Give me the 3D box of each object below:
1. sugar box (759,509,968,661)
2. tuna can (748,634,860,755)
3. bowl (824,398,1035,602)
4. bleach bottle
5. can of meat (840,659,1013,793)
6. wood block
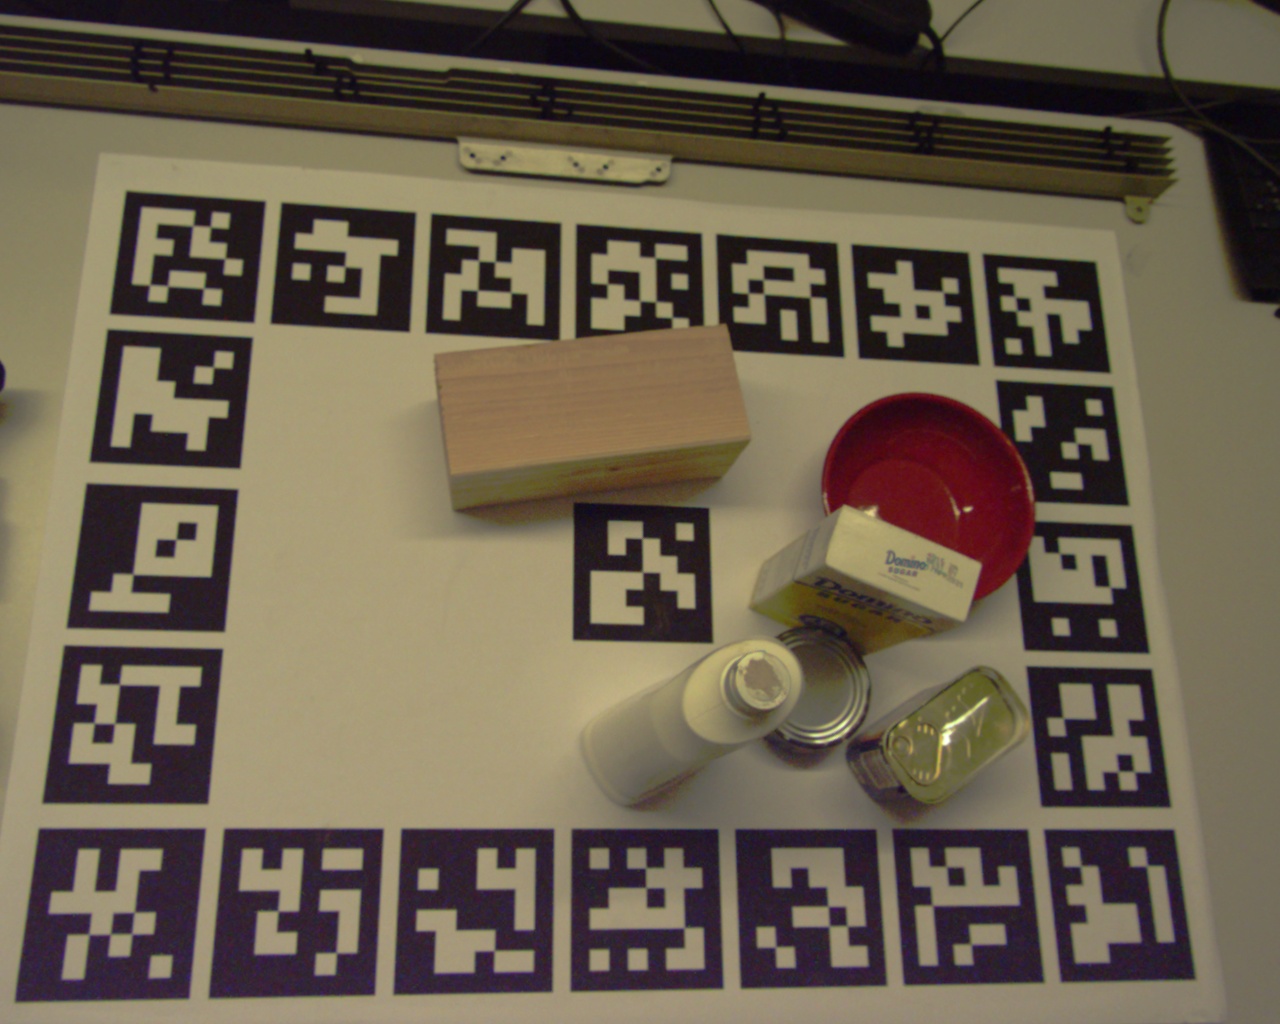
[{"bbox_3d":[0.146,0.055,0.781,0.093,0.176,0.045,22,73,1],"label":"sugar box"},{"bbox_3d":[0.113,0.133,0.828,0.085,0.034,0.086,2,76,-7],"label":"tuna can"},{"bbox_3d":[0.214,-0.003,0.875,0.161,0.055,0.162,1,73,-4],"label":"bowl"},{"bbox_3d":[0.032,0.123,0.708,0.102,0.251,0.068,-23,78,-15],"label":"bleach bottle"},{"bbox_3d":[0.200,0.156,0.815,0.101,0.084,0.058,-28,77,-17],"label":"can of meat"},{"bbox_3d":[-0.039,-0.061,0.840,0.205,0.090,0.091,-7,79,-11],"label":"wood block"}]
